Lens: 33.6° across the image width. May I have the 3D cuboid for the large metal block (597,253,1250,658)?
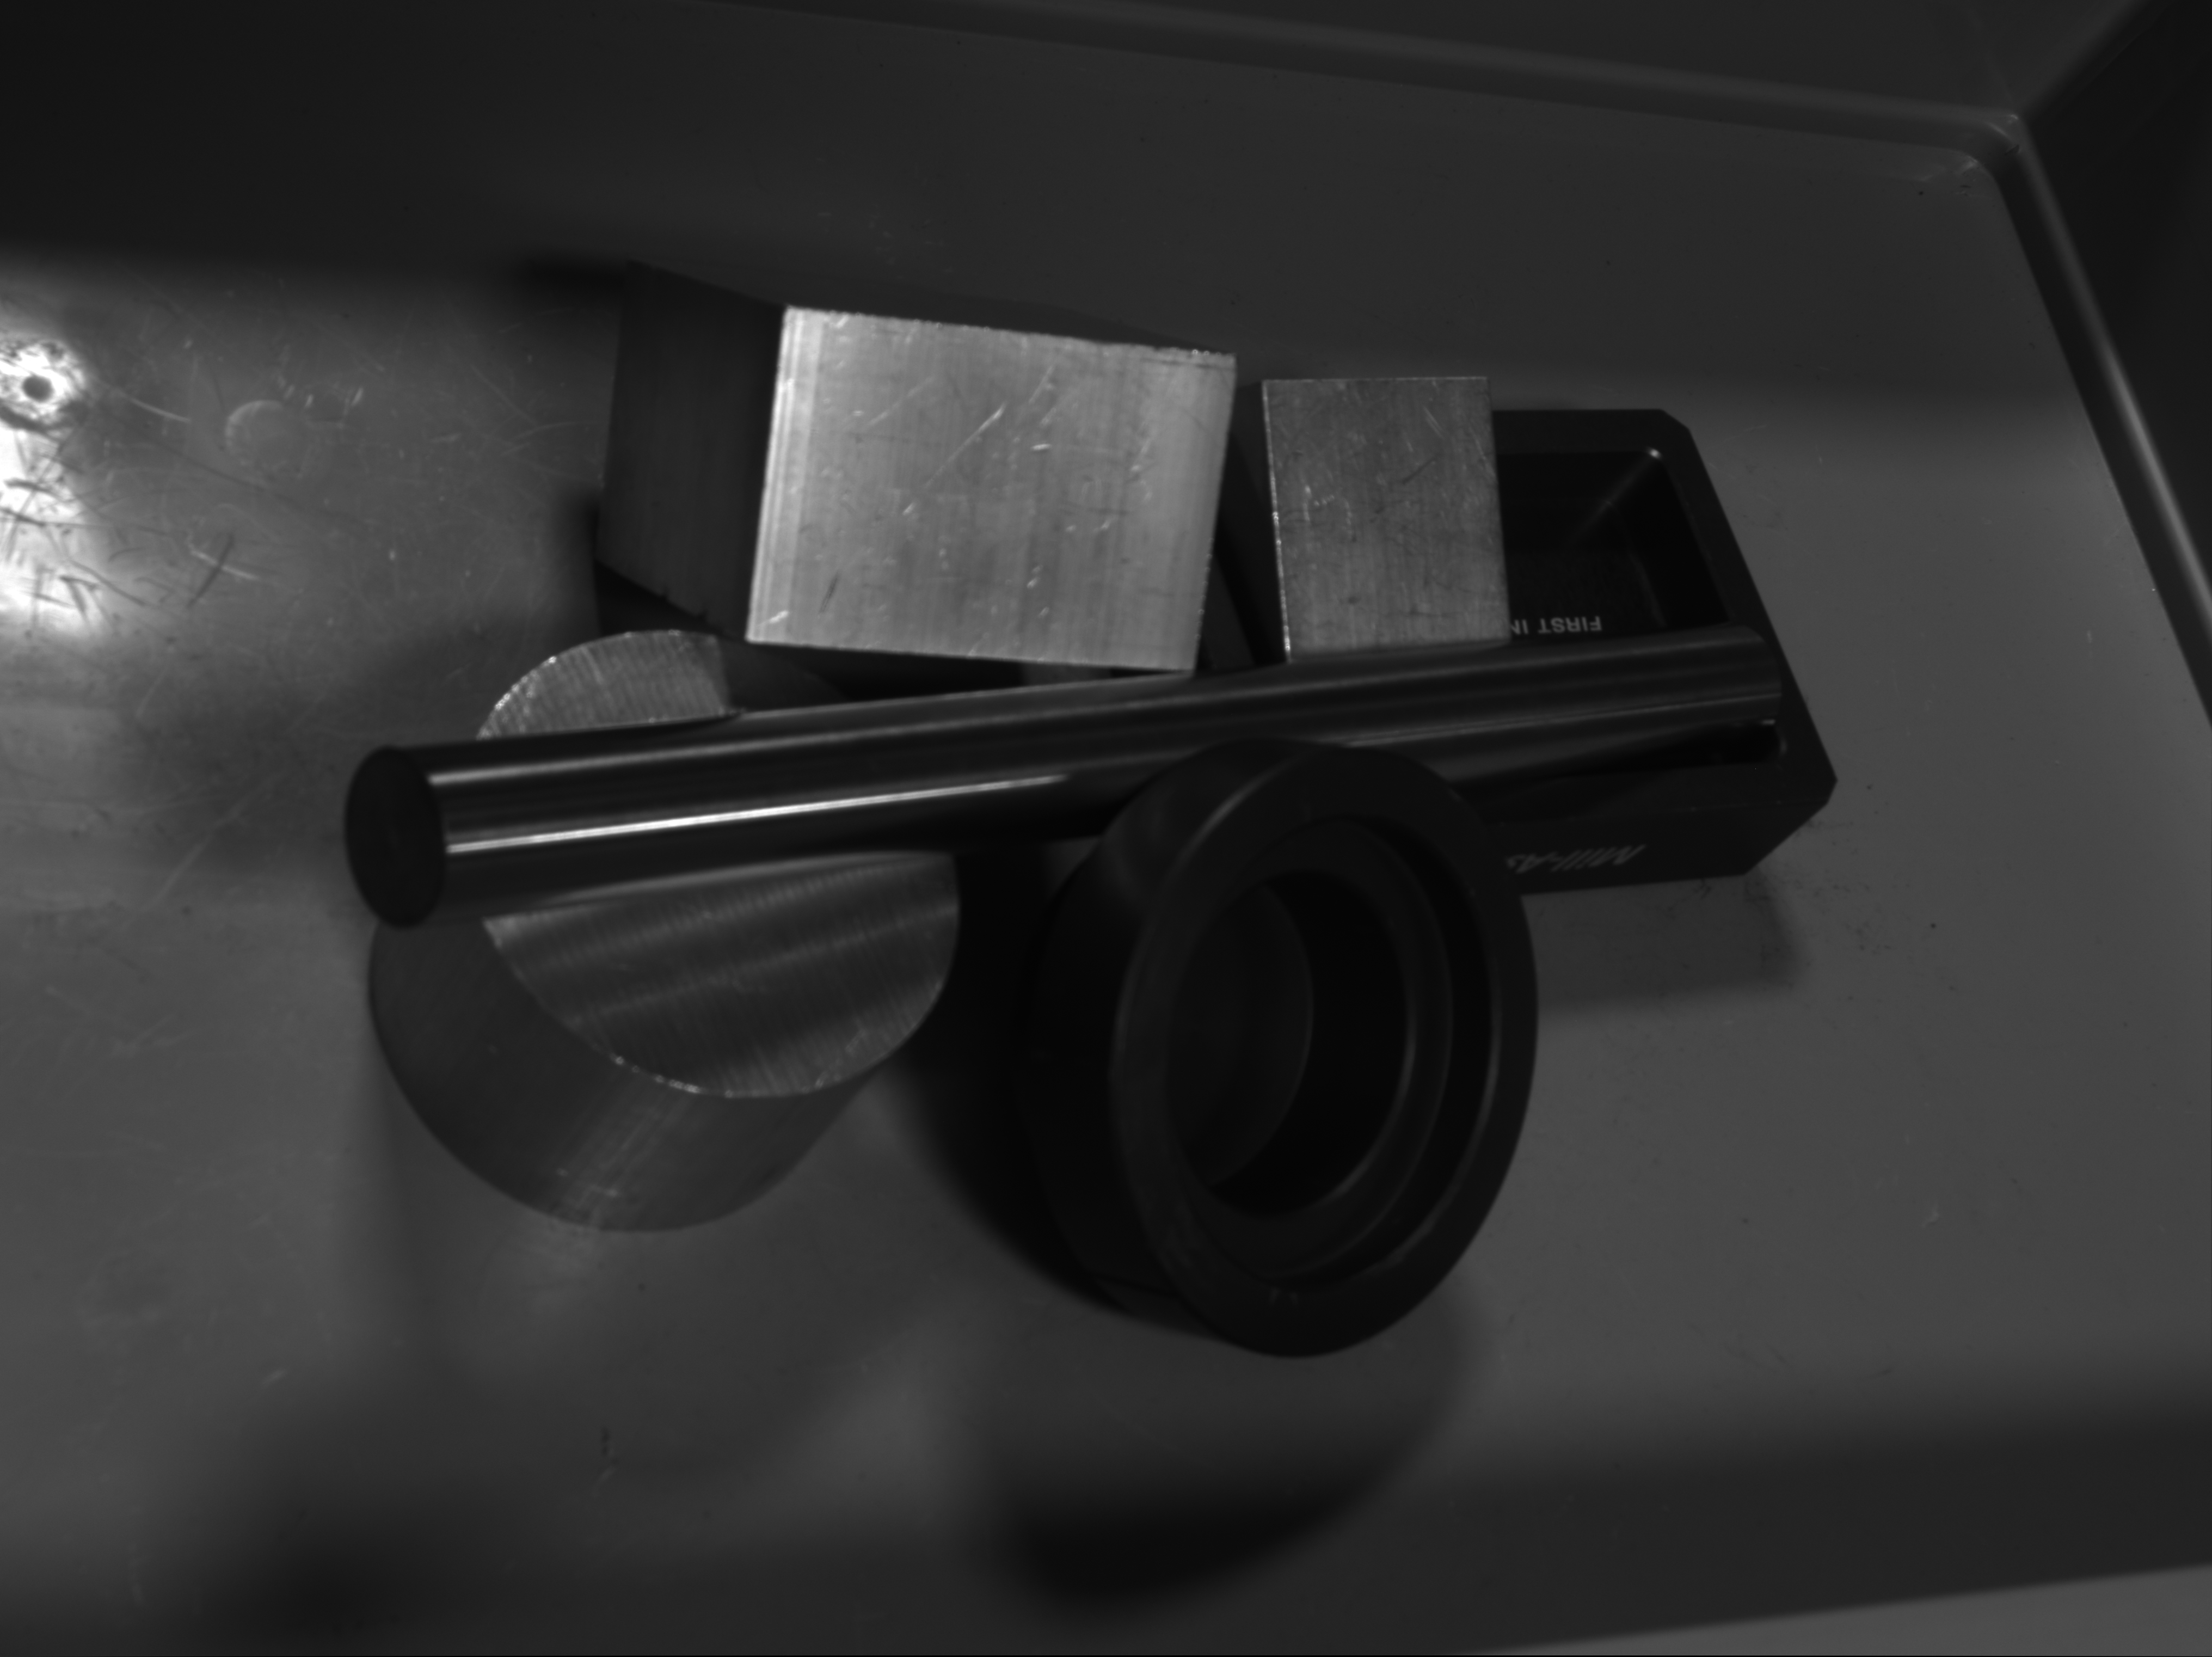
[{"bbox_3d":[-0.033,-0.063,0.615,0.080,0.080,0.050,2,103,-26],"label":"large metal block"}]

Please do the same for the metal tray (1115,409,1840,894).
[{"bbox_3d":[0.066,-0.033,0.690,0.130,0.030,0.090,-5,64,-30],"label":"metal tray"}]

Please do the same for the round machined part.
[{"bbox_3d":[0.023,0.034,0.598,0.098,0.042,0.098,-6,99,-42],"label":"round machined part"}]

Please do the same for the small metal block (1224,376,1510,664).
[{"bbox_3d":[0.044,-0.055,0.669,0.050,0.025,0.050,-5,90,-30],"label":"small metal block"}]

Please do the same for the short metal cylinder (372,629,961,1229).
[{"bbox_3d":[-0.069,0.016,0.574,0.080,0.050,0.080,14,56,-21],"label":"short metal cylinder"}]

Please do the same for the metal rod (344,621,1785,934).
[{"bbox_3d":[0.012,-0.013,0.599,0.301,0.025,0.025,-8,65,-43],"label":"metal rod"}]
